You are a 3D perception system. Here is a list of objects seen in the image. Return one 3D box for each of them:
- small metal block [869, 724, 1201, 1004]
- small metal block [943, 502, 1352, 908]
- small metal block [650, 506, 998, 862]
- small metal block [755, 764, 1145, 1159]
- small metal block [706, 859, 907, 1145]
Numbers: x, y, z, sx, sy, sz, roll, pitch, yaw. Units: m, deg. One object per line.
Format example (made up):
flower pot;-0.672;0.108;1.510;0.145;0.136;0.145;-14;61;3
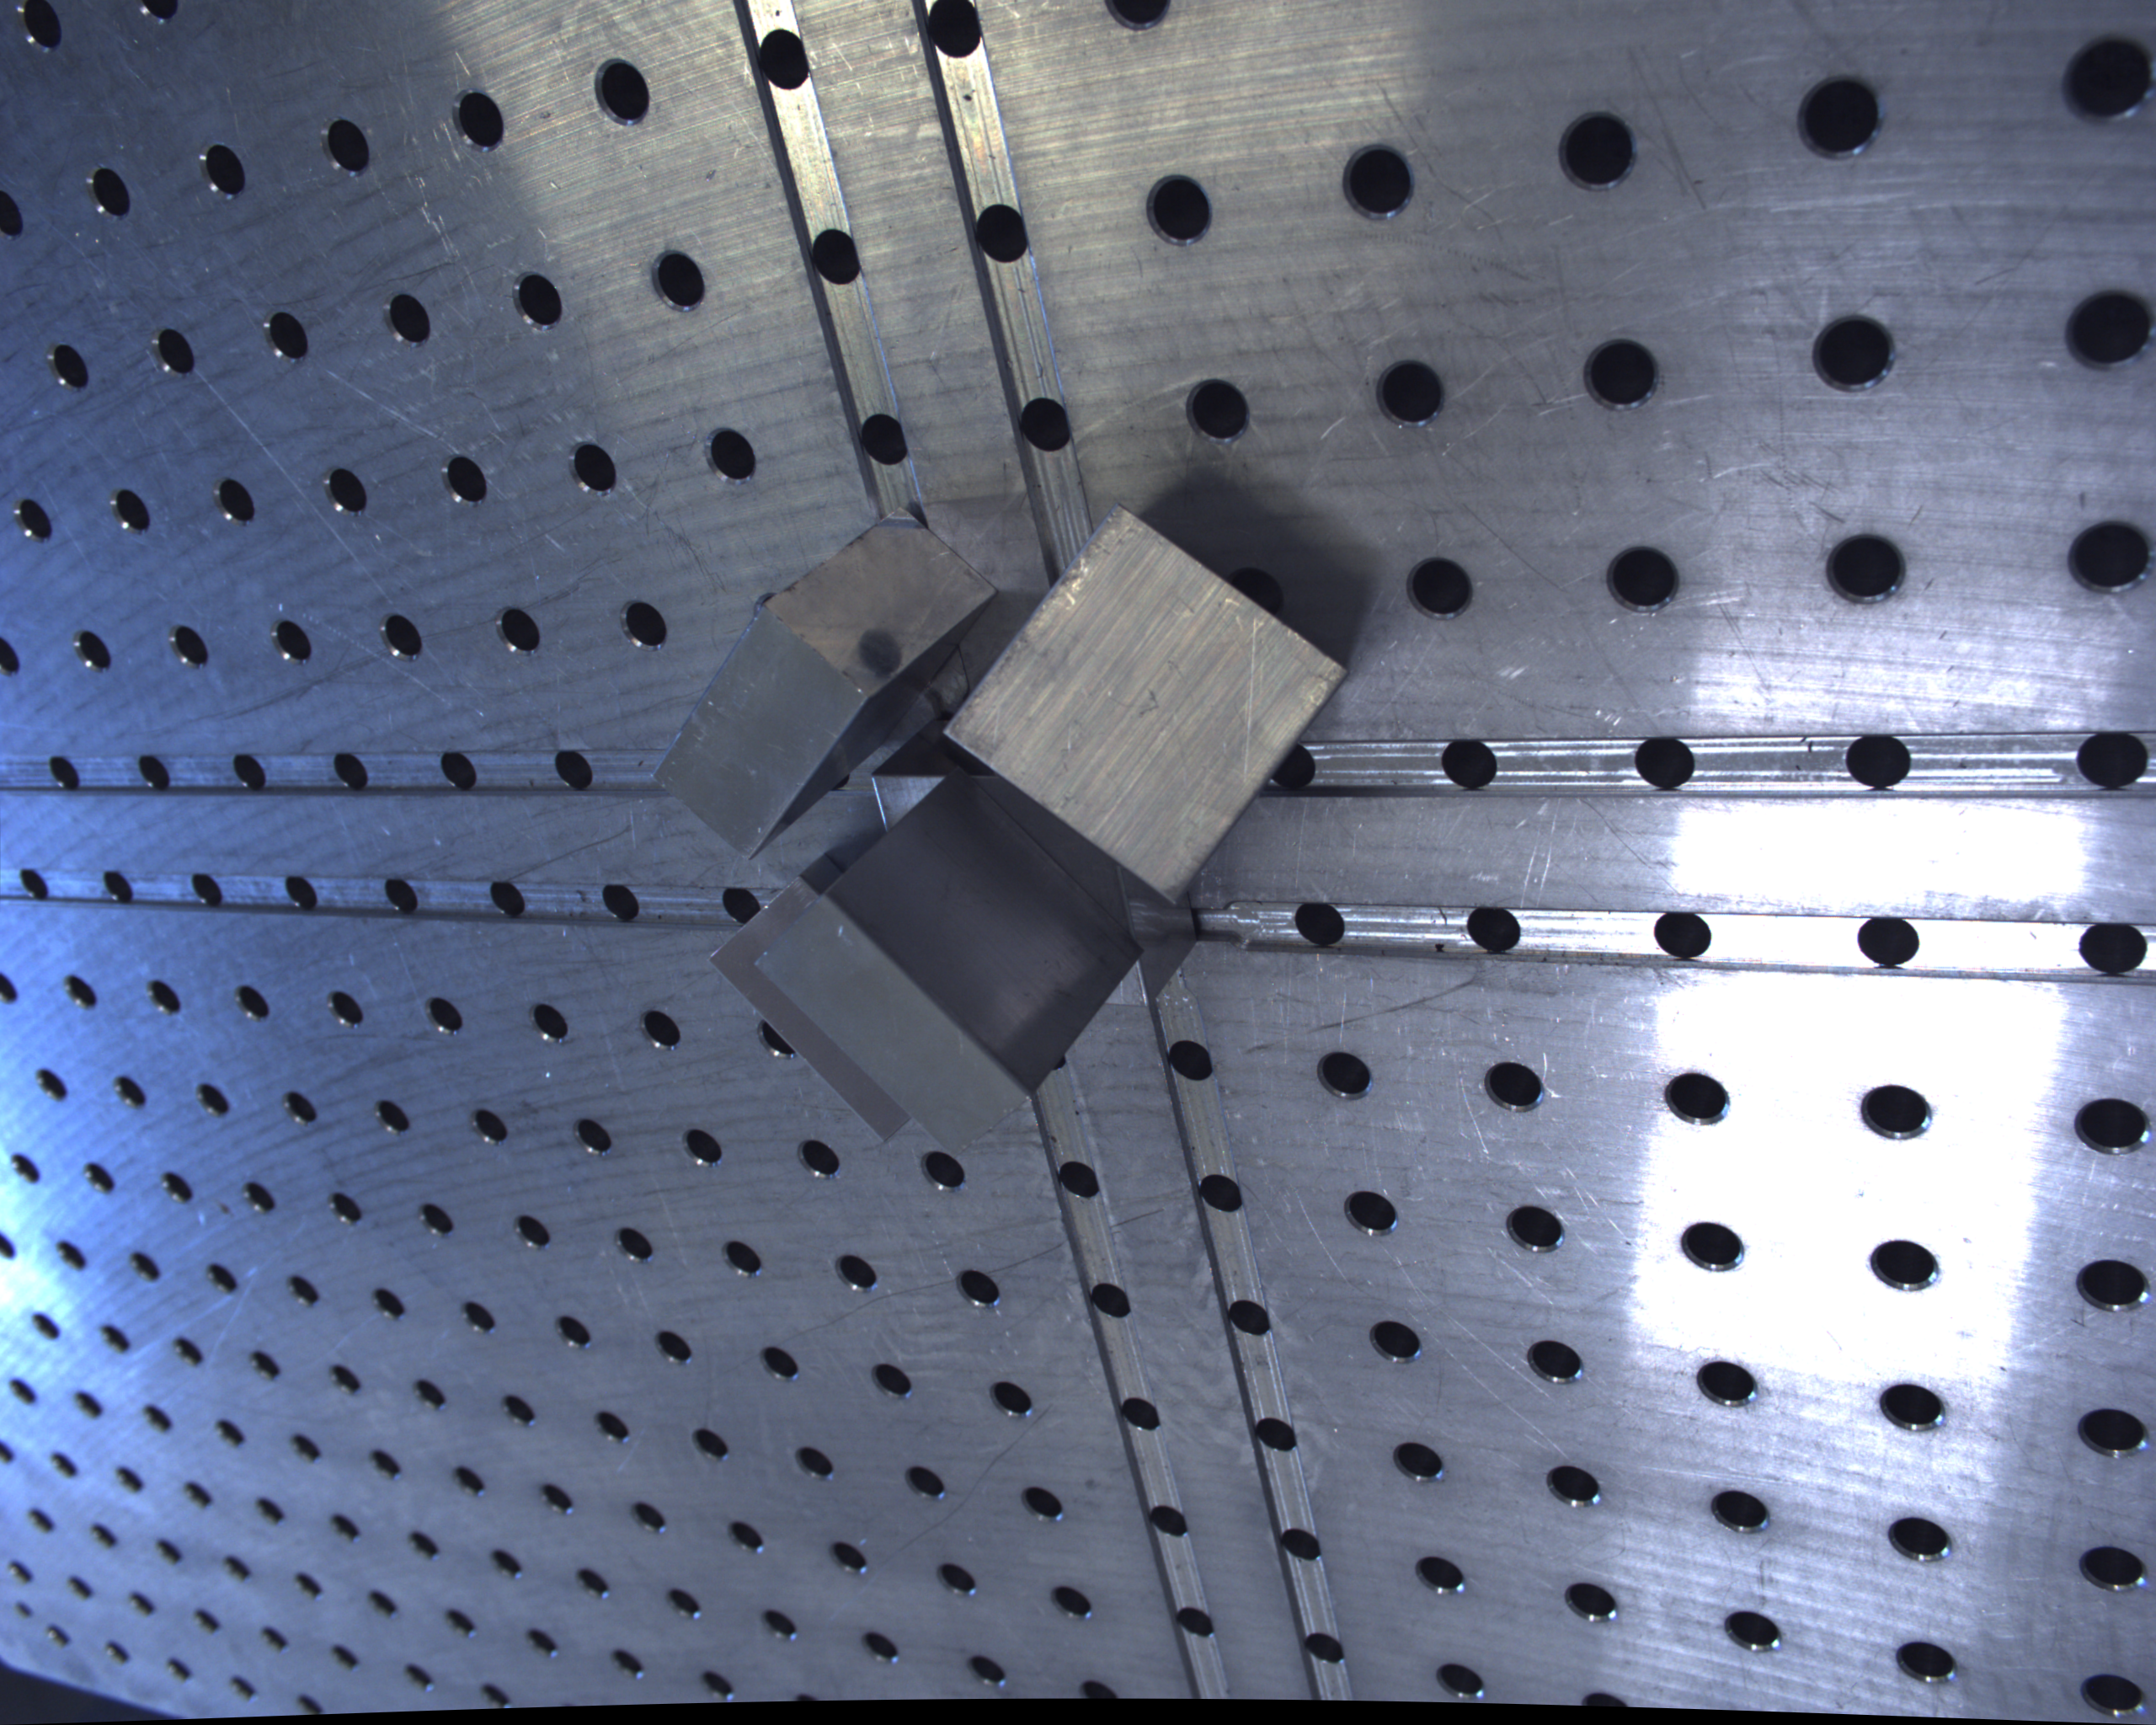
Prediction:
small metal block;-0.008;0.000;0.415;0.050;0.025;0.050;0;118;27
small metal block;0.012;-0.027;0.371;0.050;0.025;0.050;37;89;4
small metal block;-0.048;-0.034;0.400;0.025;0.050;0.050;42;129;0
small metal block;-0.022;0.017;0.386;0.050;0.050;0.025;45;128;-4
small metal block;-0.047;0.027;0.433;0.025;0.050;0.050;-43;95;2
